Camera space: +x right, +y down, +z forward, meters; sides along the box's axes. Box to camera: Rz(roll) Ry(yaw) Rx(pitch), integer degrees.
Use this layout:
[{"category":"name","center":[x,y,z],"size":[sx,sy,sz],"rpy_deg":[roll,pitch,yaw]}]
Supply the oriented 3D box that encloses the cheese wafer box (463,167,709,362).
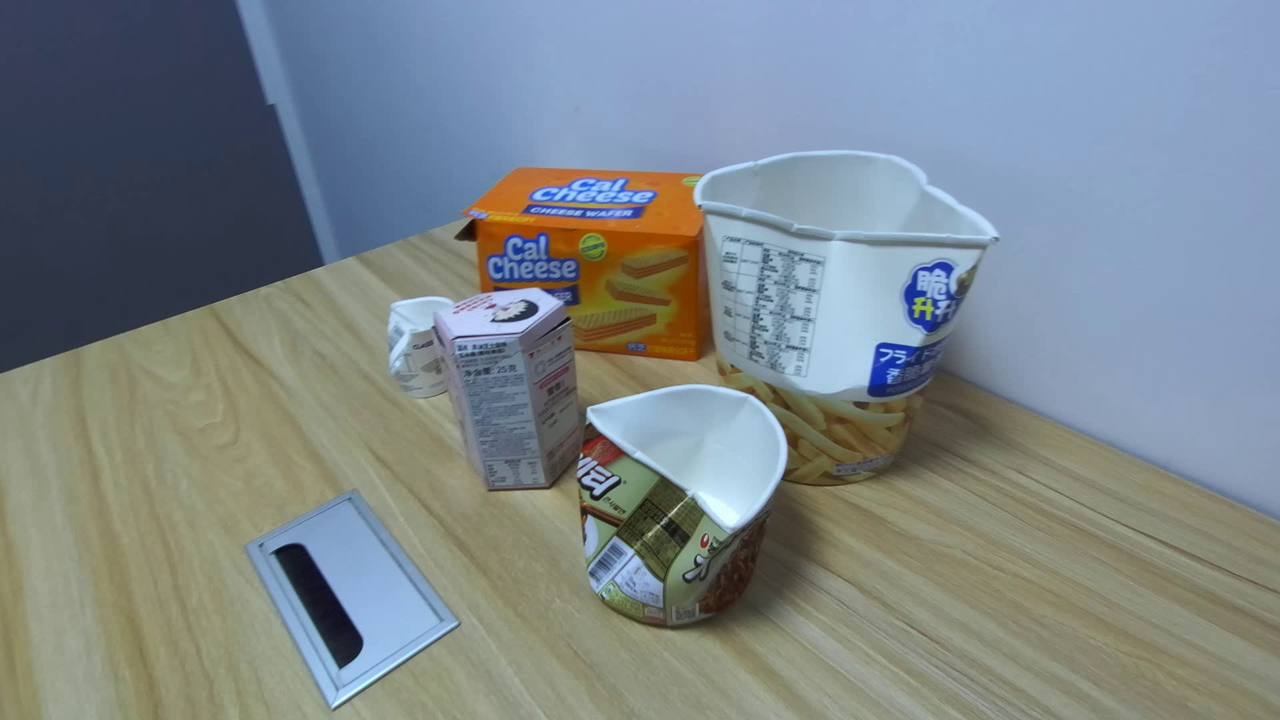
[{"category":"cheese wafer box","center":[-0.037,-0.102,0.693],"size":[0.226,0.137,0.149],"rpy_deg":[6,36,13]}]

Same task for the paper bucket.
[{"category":"paper bucket","center":[0.125,-0.028,0.518],"size":[0.163,0.202,0.168],"rpy_deg":[-7,32,-4]}]

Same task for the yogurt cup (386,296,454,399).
[{"category":"yogurt cup","center":[-0.195,-0.011,0.639],"size":[0.067,0.070,0.067],"rpy_deg":[-1,33,1]}]

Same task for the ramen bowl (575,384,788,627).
[{"category":"ramen bowl","center":[0.028,0.091,0.442],"size":[0.137,0.098,0.137],"rpy_deg":[0,37,0]}]

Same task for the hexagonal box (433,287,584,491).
[{"category":"hexagonal box","center":[-0.092,0.020,0.520],"size":[0.084,0.135,0.092],"rpy_deg":[17,39,29]}]
